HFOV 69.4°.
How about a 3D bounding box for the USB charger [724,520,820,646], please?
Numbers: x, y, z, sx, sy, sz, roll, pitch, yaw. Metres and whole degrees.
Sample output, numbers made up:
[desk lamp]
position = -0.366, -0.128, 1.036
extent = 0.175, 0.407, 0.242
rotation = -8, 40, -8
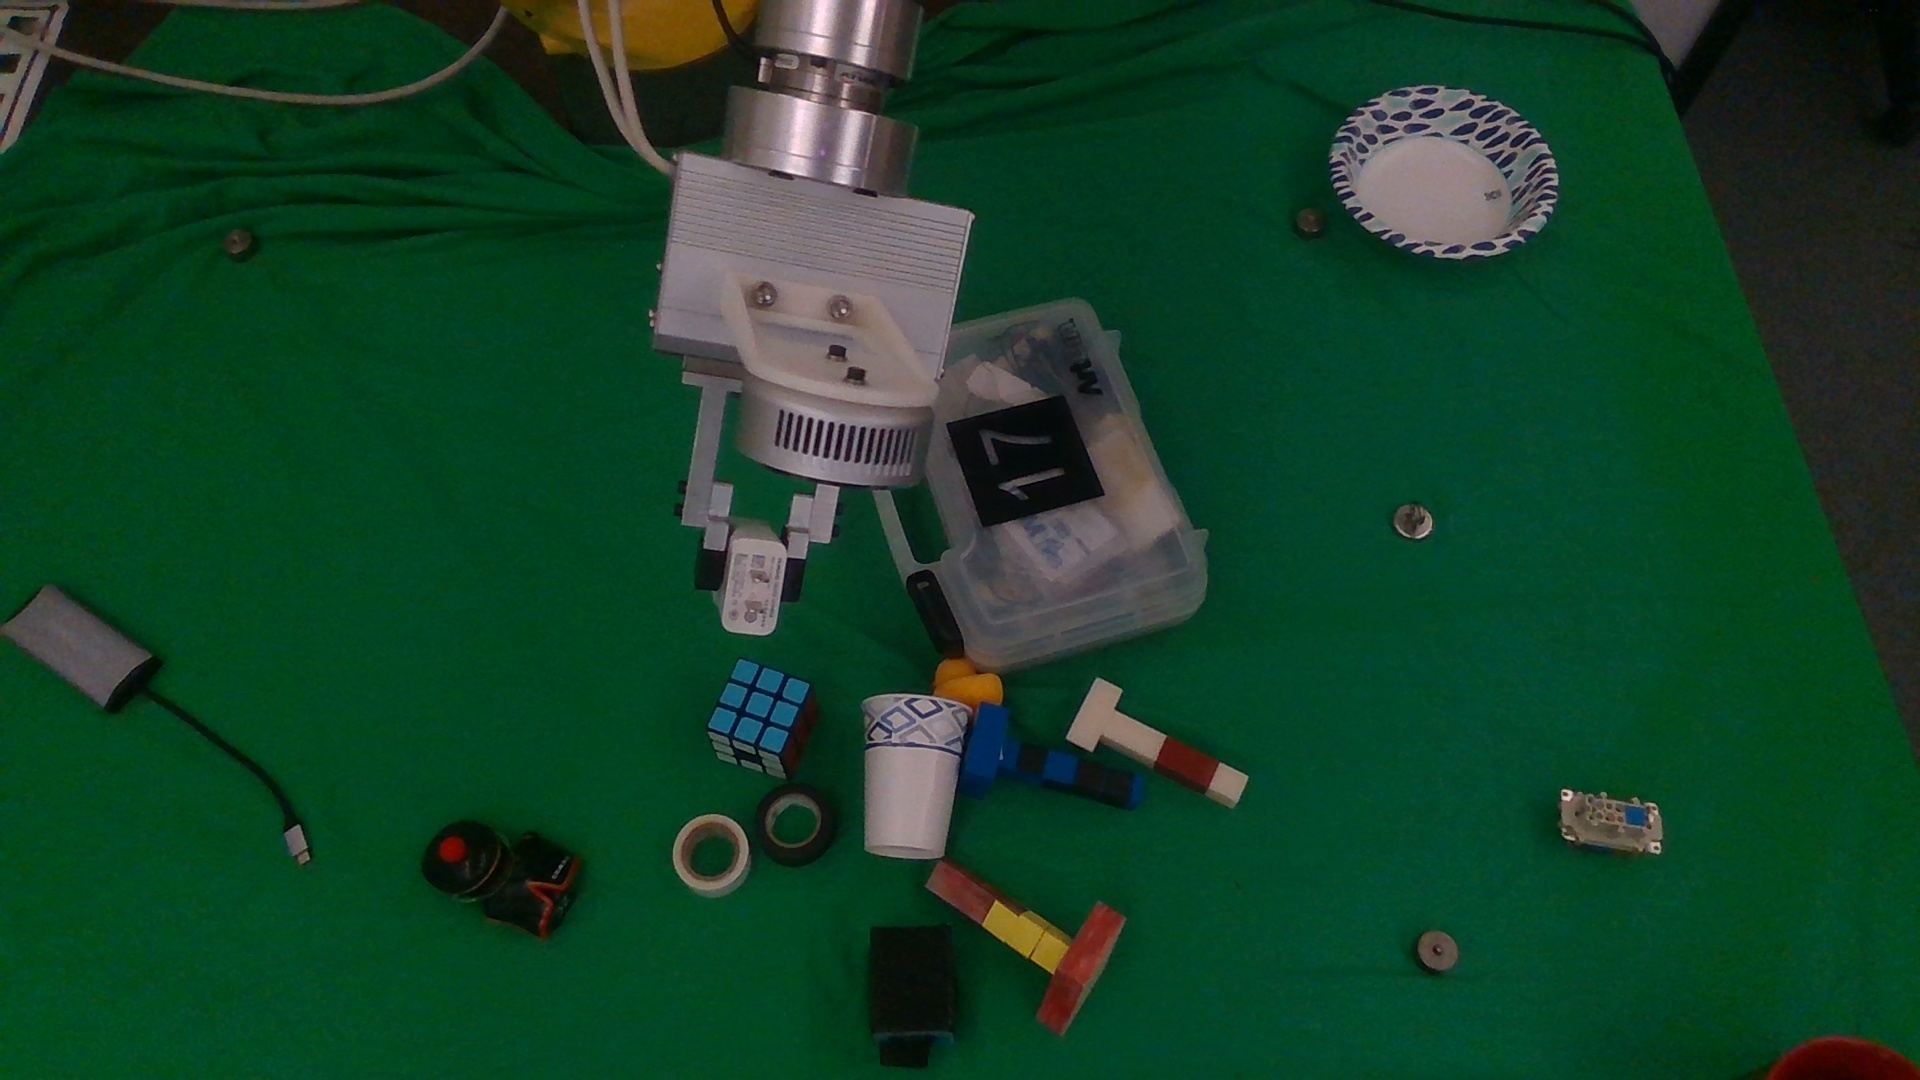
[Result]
[USB charger]
position = -0.074, 0.017, 0.551
extent = 0.029, 0.076, 0.044
rotation = -3, 97, -18

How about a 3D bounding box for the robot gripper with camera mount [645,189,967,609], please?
[robot gripper with camera mount]
position = -0.054, -0.030, 0.479
extent = 0.119, 0.193, 0.158
rotation = 5, 105, -11
